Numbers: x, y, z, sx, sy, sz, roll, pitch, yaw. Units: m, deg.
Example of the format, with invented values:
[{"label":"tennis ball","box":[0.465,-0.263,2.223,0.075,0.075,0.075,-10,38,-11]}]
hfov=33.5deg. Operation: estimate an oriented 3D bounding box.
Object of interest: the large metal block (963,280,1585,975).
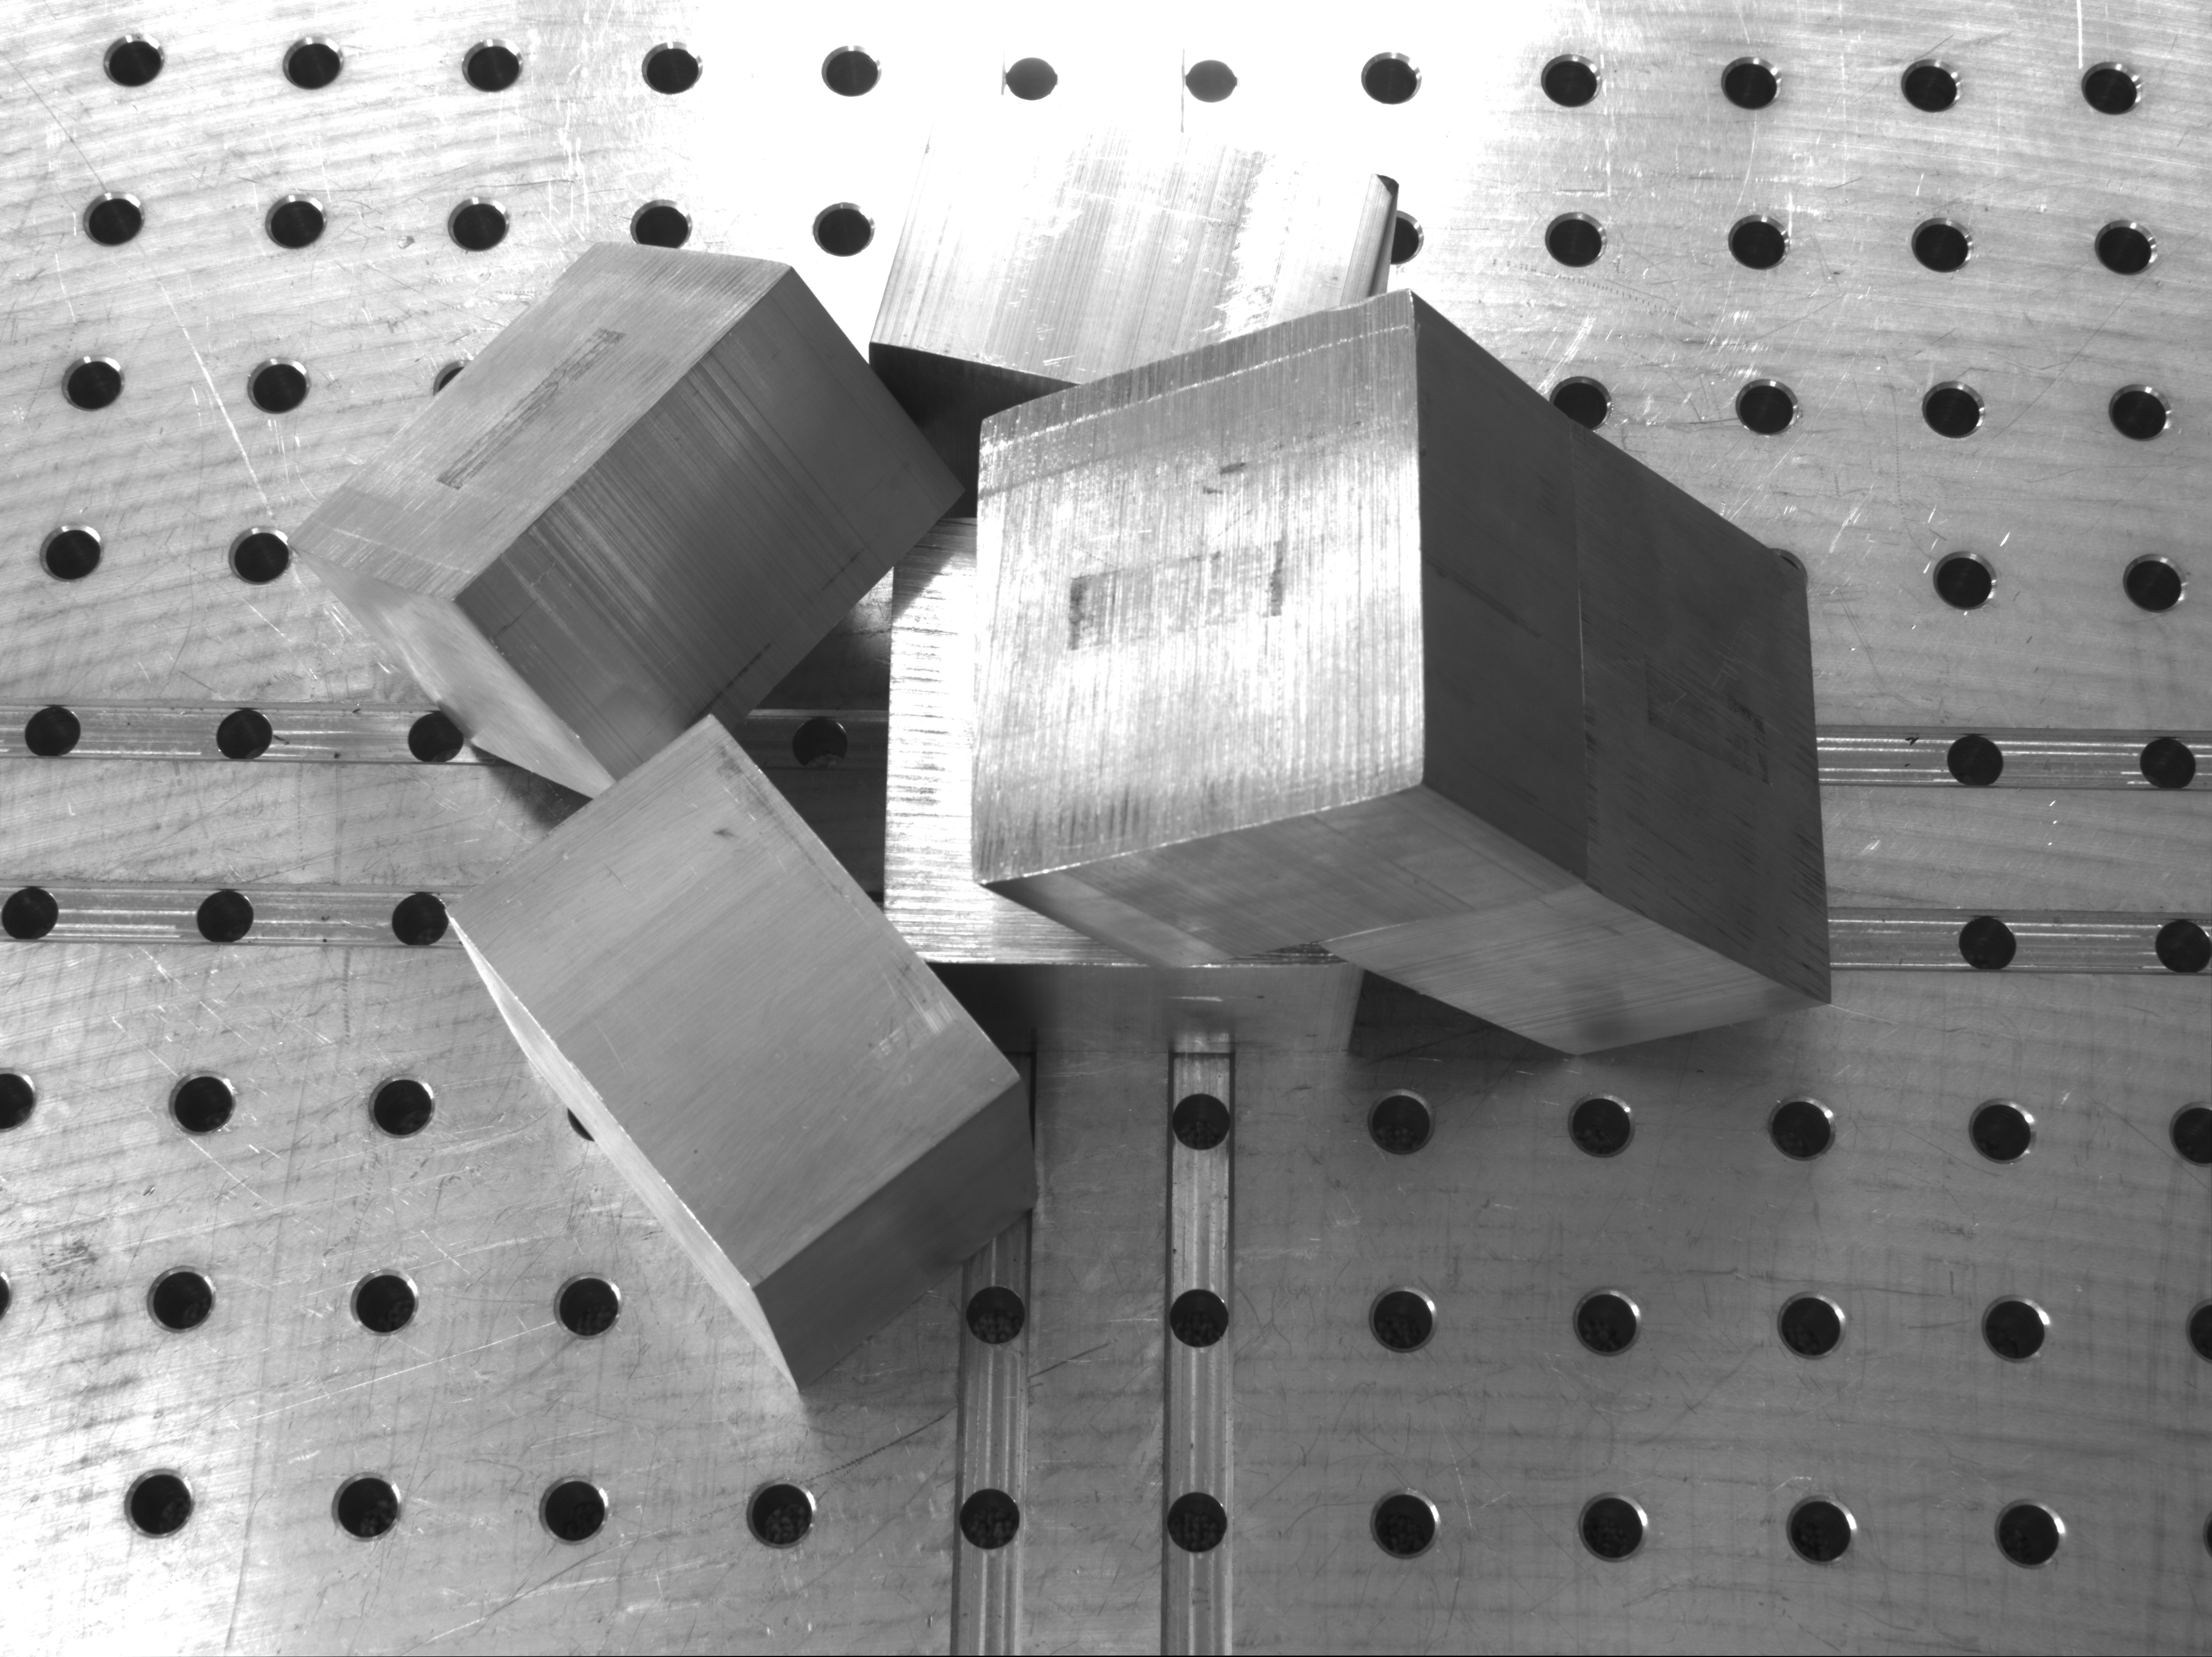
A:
[{"label":"large metal block","box":[0.026,-0.029,0.571,0.080,0.050,0.080,-13,65,32]}]

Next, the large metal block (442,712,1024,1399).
[{"label":"large metal block","box":[-0.059,0.039,0.603,0.050,0.080,0.080,-38,74,-13]}]

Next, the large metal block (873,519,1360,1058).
[{"label":"large metal block","box":[0.002,-0.006,0.637,0.080,0.050,0.080,1,70,0]}]

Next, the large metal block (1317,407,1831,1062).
[{"label":"large metal block","box":[0.077,-0.013,0.615,0.050,0.080,0.080,-15,64,35]}]

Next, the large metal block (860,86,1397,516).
[{"label":"large metal block","box":[0.005,-0.081,0.649,0.080,0.080,0.050,12,70,5]}]

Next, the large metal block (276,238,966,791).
[{"label":"large metal block","box":[-0.084,-0.054,0.632,0.080,0.080,0.050,-47,120,-15]}]
